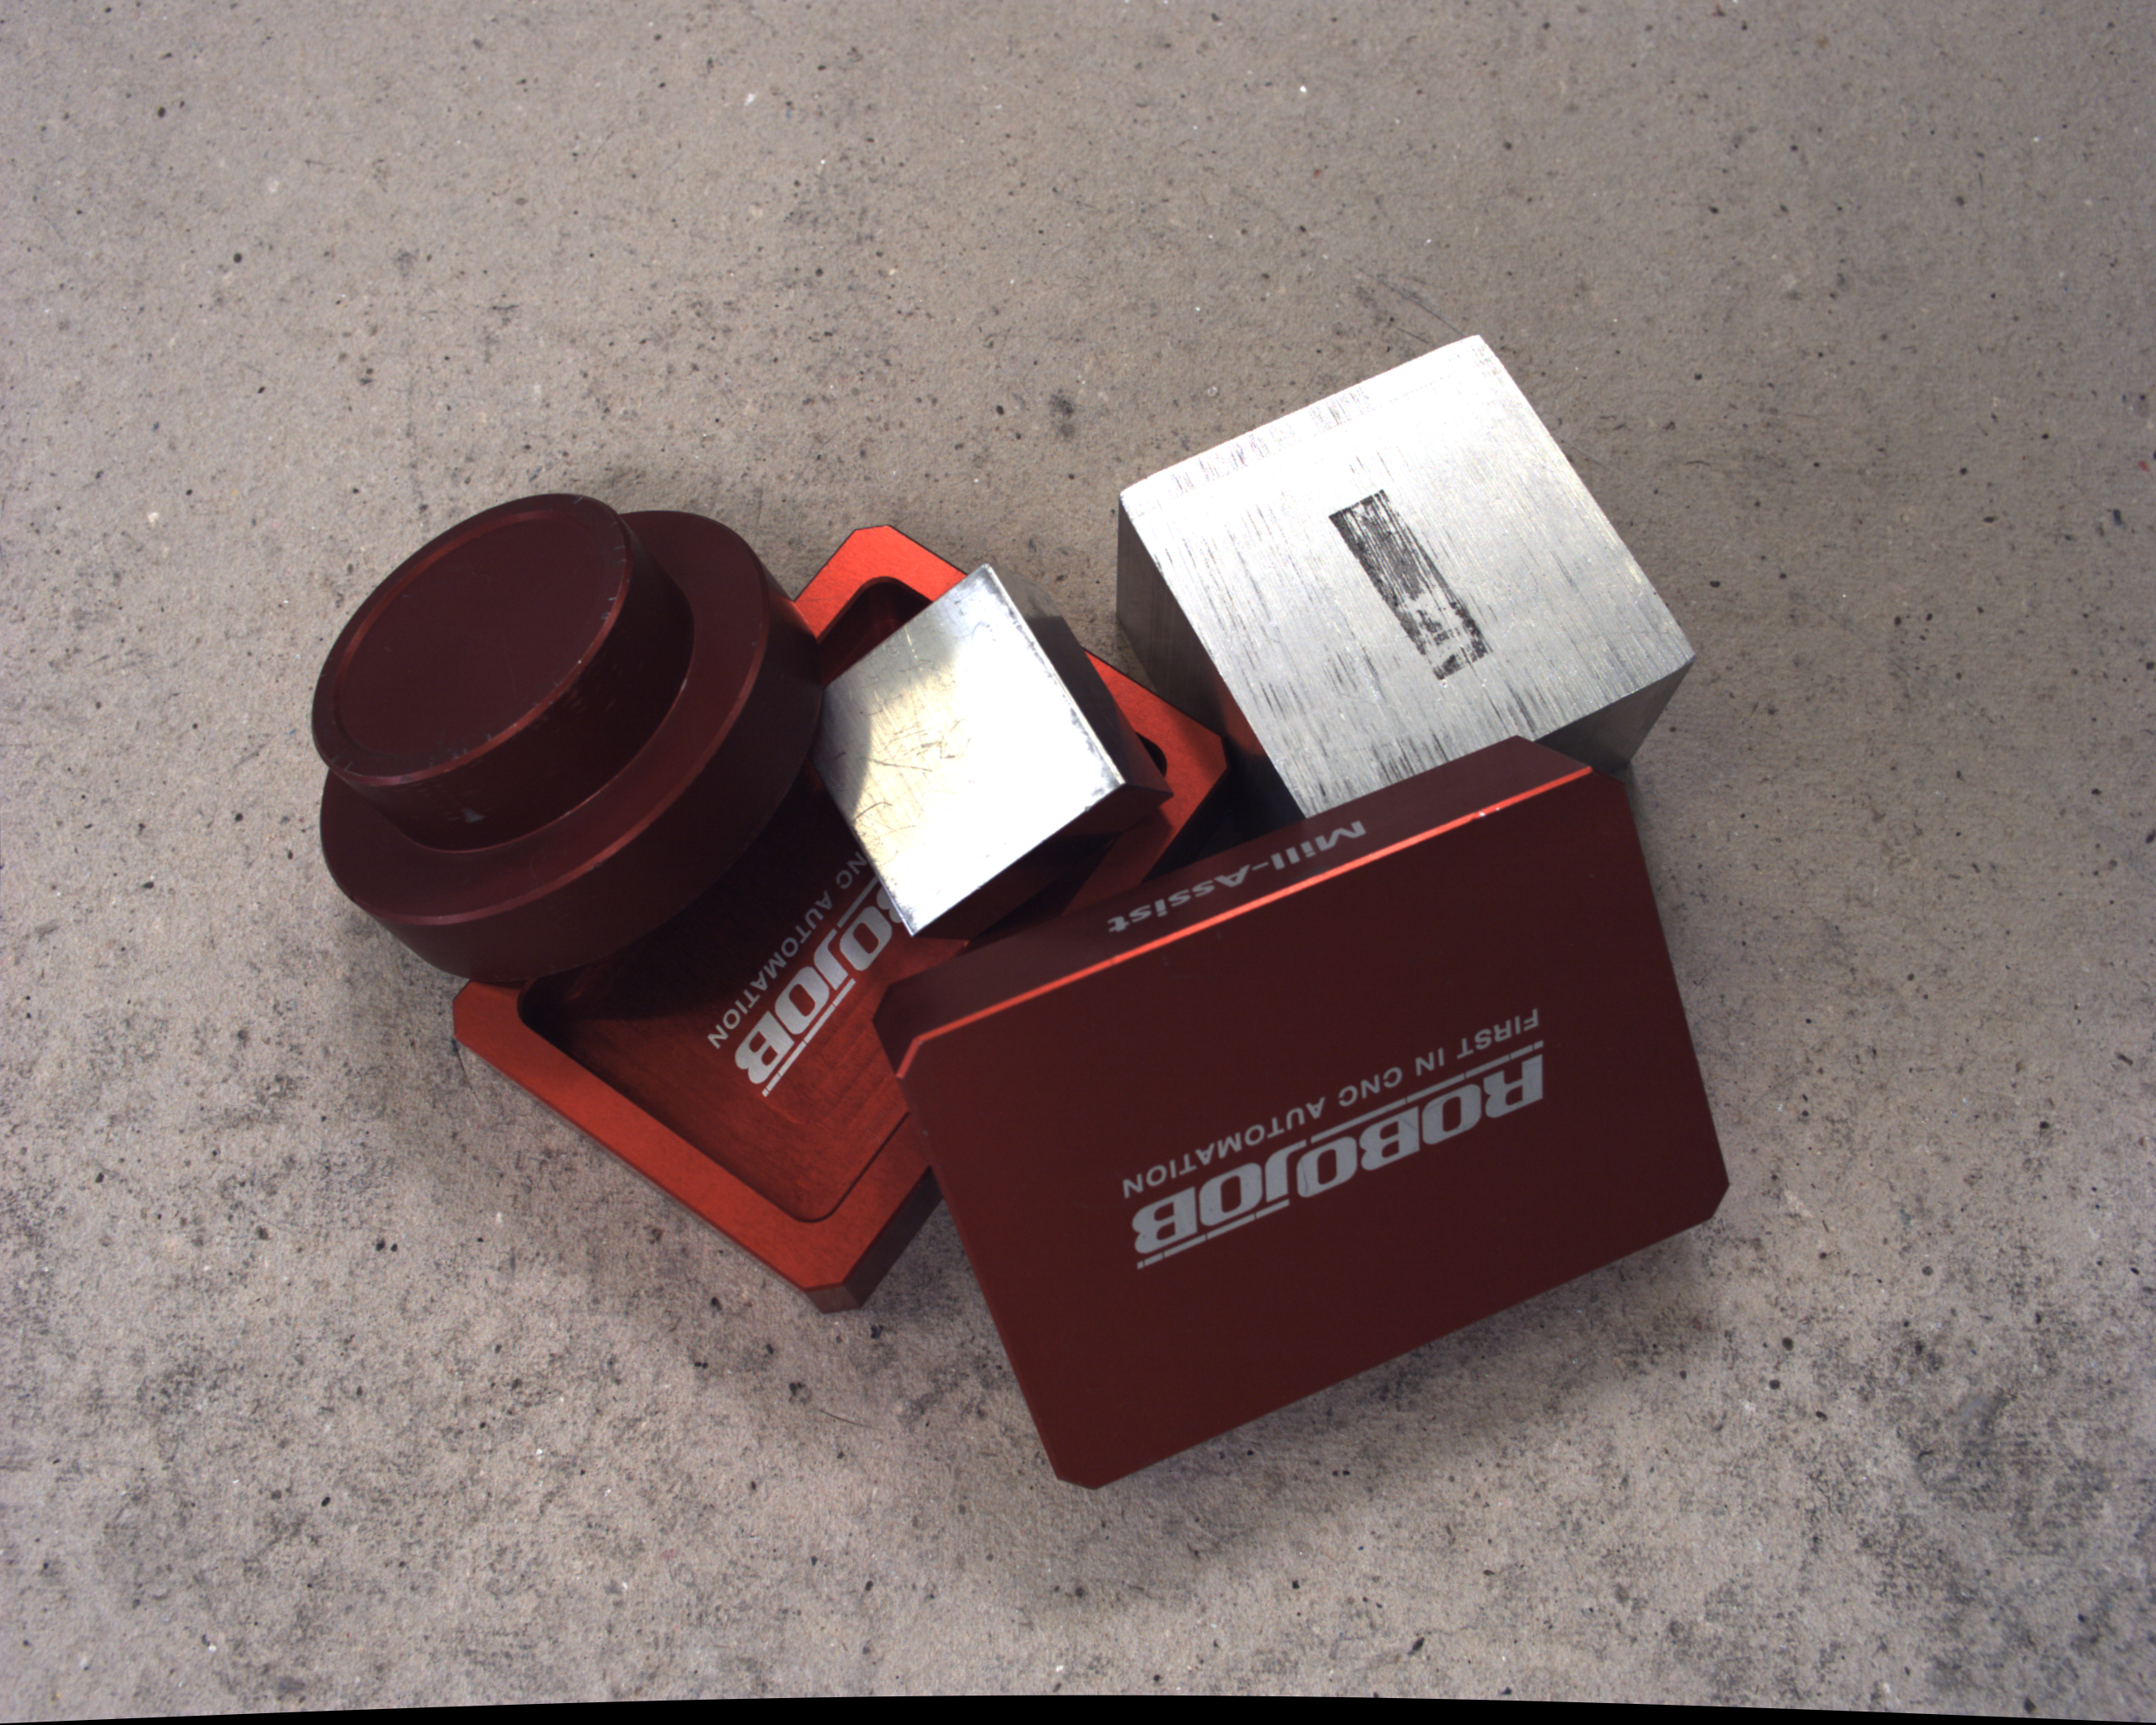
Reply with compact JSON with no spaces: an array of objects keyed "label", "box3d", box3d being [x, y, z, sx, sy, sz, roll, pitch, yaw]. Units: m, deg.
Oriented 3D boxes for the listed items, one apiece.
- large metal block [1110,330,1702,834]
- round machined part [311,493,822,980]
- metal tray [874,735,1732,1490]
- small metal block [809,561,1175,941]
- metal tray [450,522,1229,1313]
[{"label":"large metal block","box3d":[0.061,-0.046,0.413,0.080,0.050,0.080,-25,72,-9]},{"label":"round machined part","box3d":[-0.101,-0.030,0.388,0.098,0.042,0.098,-15,49,18]},{"label":"metal tray","box3d":[0.041,0.043,0.367,0.131,0.030,0.090,-22,108,-7]},{"label":"small metal block","box3d":[-0.019,-0.020,0.392,0.050,0.025,0.050,-36,74,17]},{"label":"metal tray","box3d":[-0.043,0.008,0.402,0.090,0.030,0.130,33,73,11]}]
